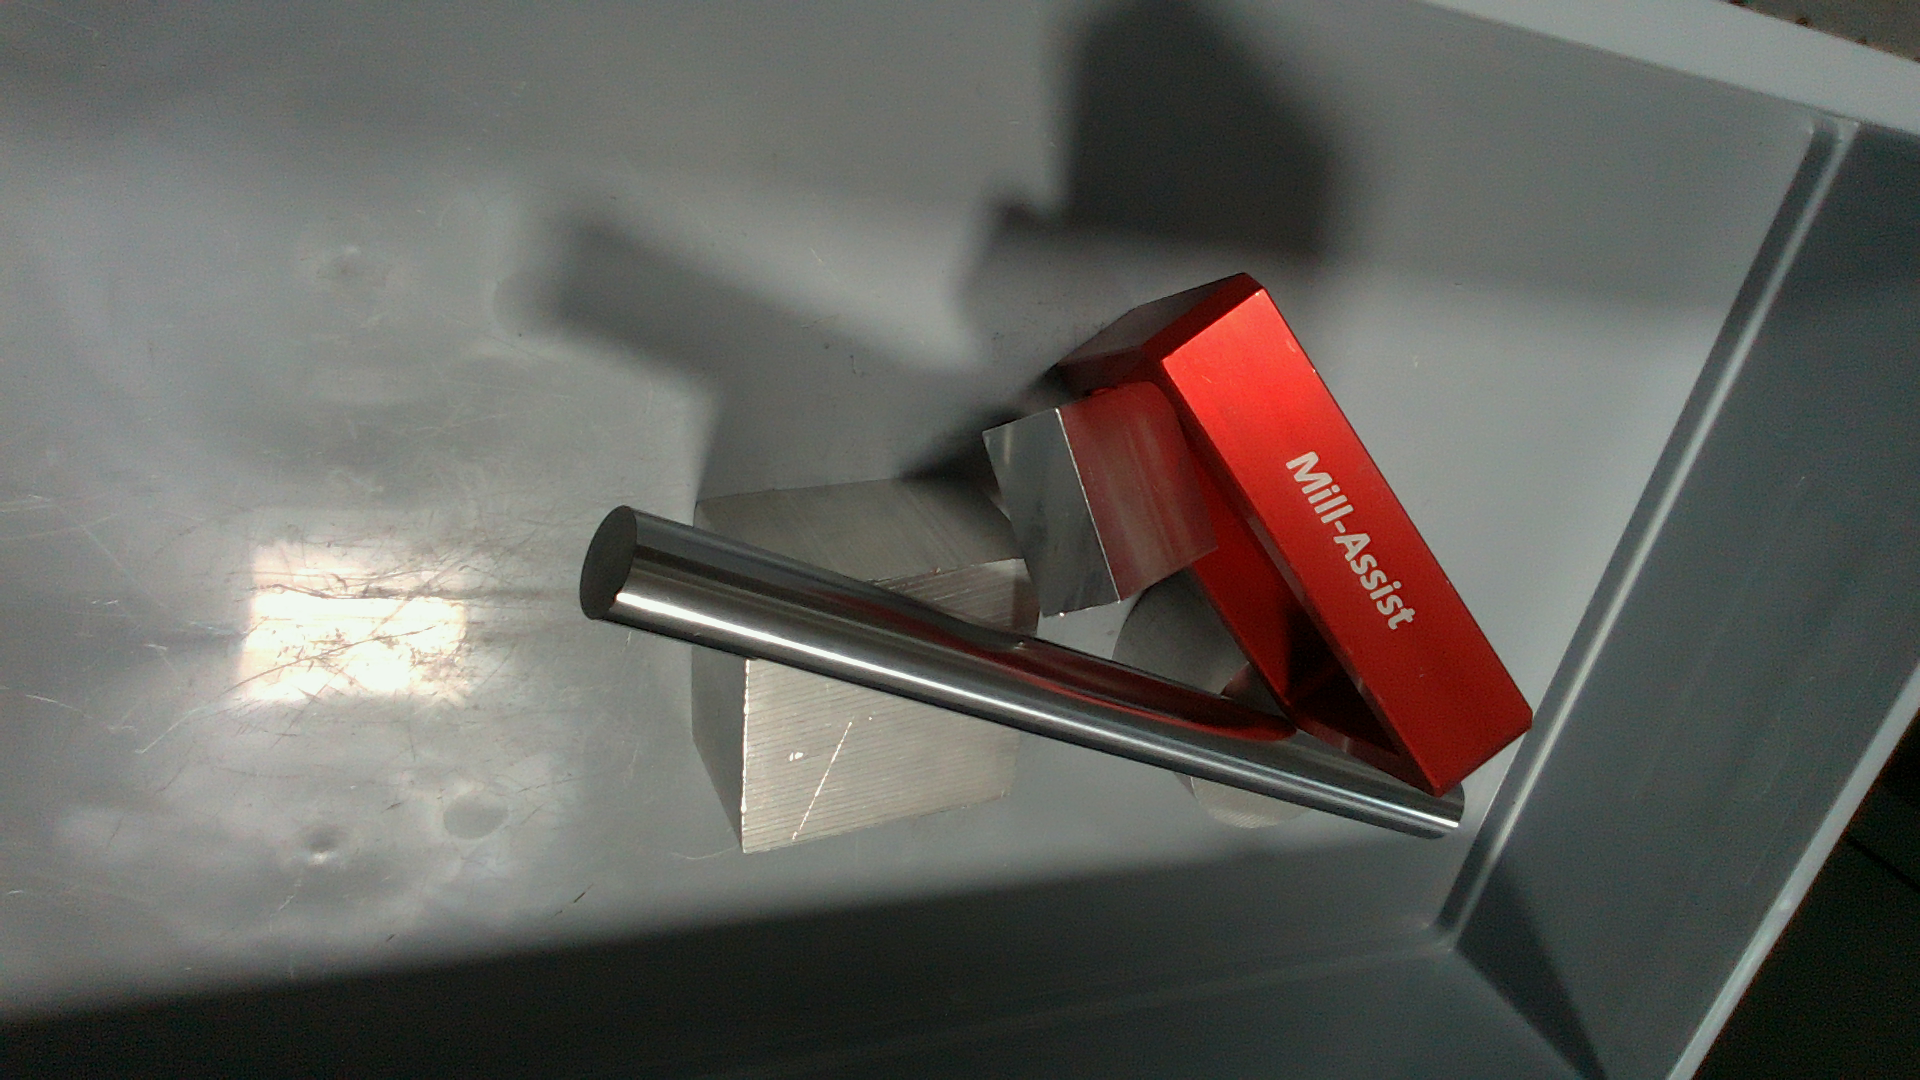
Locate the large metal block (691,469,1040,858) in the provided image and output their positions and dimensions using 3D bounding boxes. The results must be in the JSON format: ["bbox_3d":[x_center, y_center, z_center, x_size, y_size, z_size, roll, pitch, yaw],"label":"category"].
[{"bbox_3d":[-0.028,0.031,0.376,0.080,0.050,0.080,-8,122,-24],"label":"large metal block"}]

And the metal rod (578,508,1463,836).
[{"bbox_3d":[0.042,0.046,0.373,0.301,0.025,0.025,19,108,-36],"label":"metal rod"}]

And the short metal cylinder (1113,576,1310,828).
[{"bbox_3d":[0.097,0.047,0.453,0.080,0.050,0.080,-14,124,-21],"label":"short metal cylinder"}]

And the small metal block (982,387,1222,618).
[{"bbox_3d":[0.038,-0.013,0.357,0.050,0.025,0.050,-23,96,-48],"label":"small metal block"}]

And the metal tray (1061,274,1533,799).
[{"bbox_3d":[0.083,-0.002,0.357,0.030,0.090,0.130,-36,99,-5],"label":"metal tray"}]
